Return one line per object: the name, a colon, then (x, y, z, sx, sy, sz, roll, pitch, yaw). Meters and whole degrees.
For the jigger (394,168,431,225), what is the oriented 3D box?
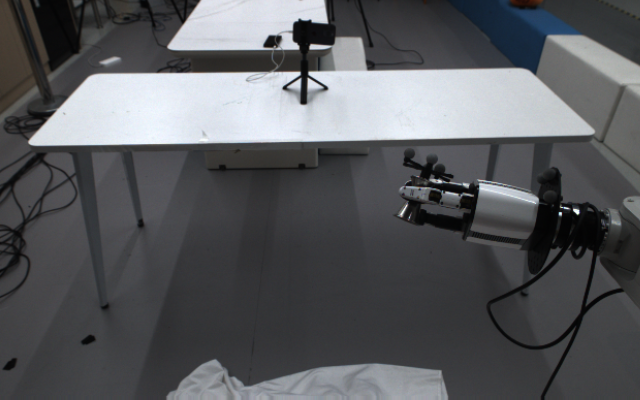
jigger: (0.143, -0.002, 0.743, 0.043, 0.071, 0.043, 25, -3, 1)
